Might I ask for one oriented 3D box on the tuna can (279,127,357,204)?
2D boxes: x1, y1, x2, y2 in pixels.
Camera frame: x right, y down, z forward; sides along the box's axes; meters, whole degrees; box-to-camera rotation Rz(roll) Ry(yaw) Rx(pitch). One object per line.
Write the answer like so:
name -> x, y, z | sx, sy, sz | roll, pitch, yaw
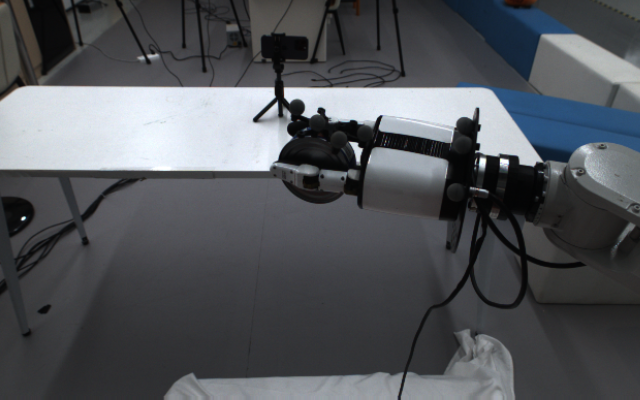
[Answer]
tuna can -> 0.000, -0.041, 0.557 | 0.085, 0.085, 0.034 | 12, 33, 14
